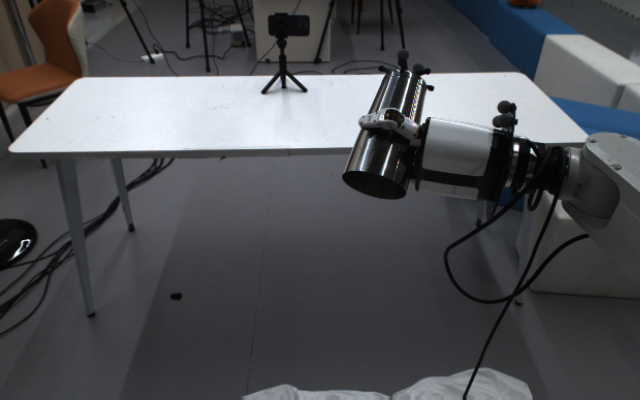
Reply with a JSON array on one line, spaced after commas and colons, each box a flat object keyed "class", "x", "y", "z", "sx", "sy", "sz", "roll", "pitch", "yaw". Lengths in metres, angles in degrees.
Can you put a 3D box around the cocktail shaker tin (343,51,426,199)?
[{"class": "cocktail shaker tin", "x": 0.101, "y": -0.096, "z": 0.692, "sx": 0.093, "sy": 0.093, "sz": 0.170, "roll": 14, "pitch": 73, "yaw": 16}]
